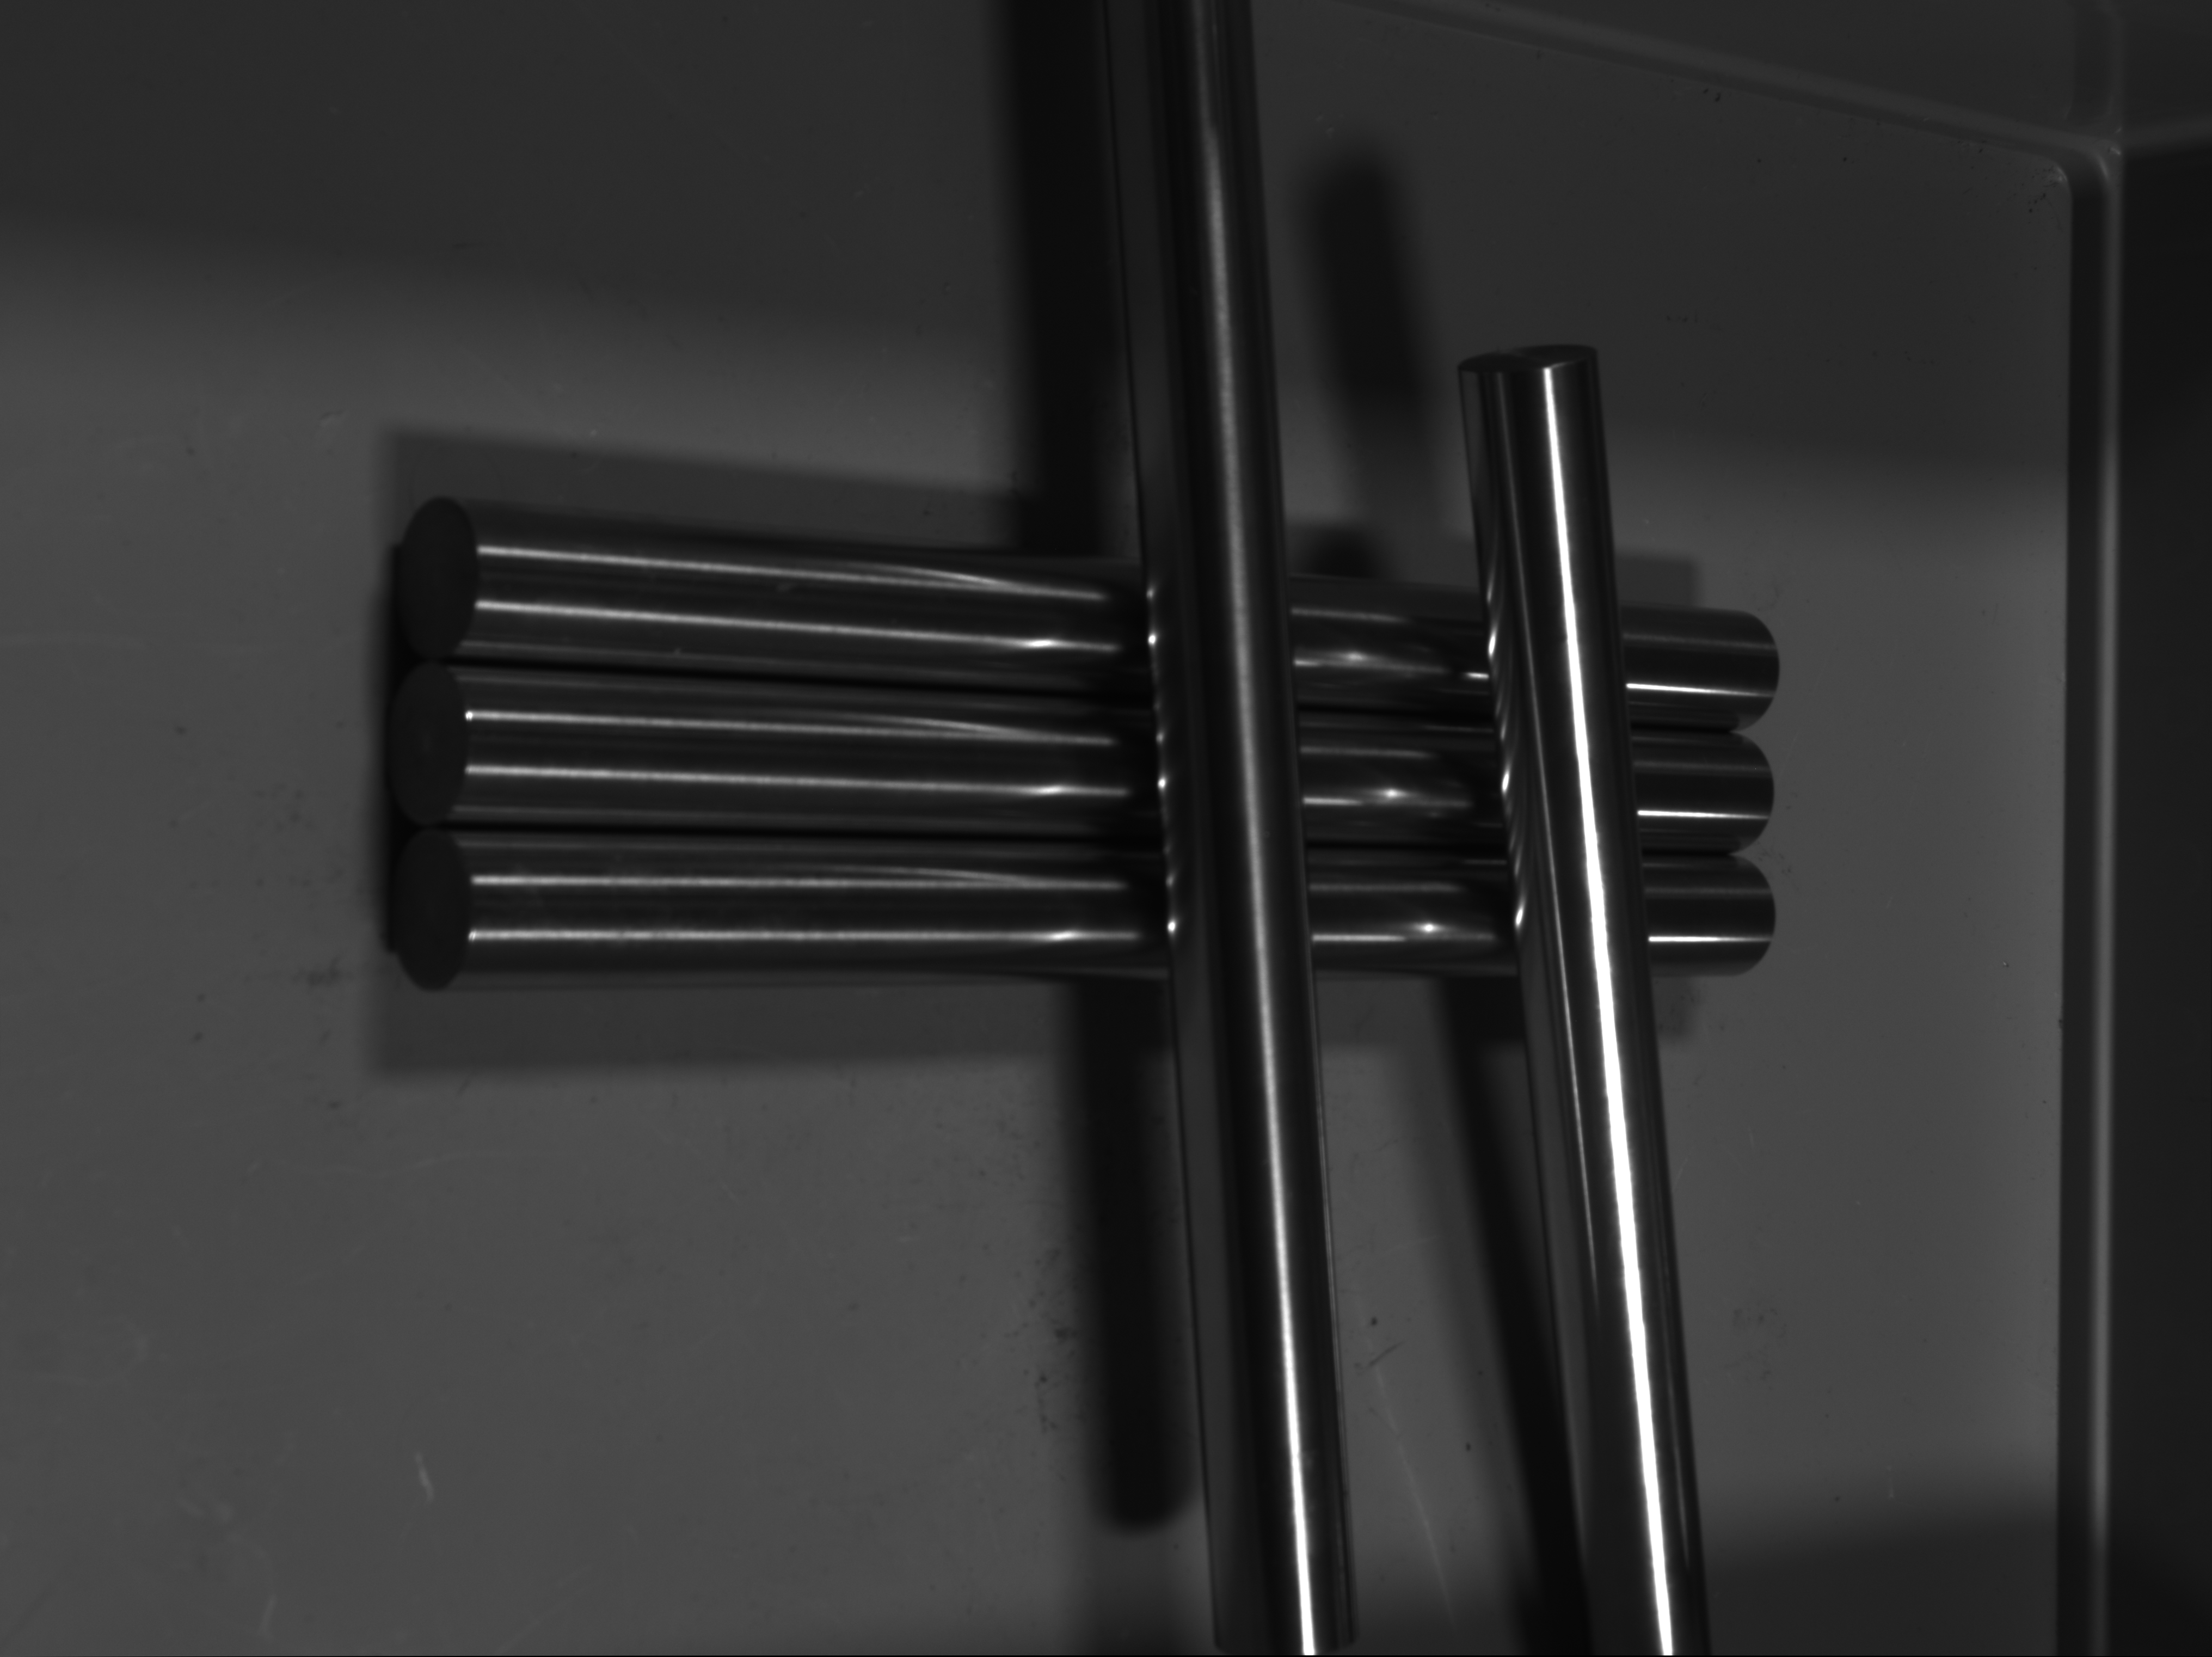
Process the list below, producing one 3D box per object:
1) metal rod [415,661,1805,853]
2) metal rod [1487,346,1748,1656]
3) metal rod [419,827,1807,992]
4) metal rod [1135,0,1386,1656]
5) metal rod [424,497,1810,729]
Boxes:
[{"bbox_3d":[0.017,-0.010,0.650,0.301,0.025,0.025,1,89,-40],"label":"metal rod"},{"bbox_3d":[0.100,0.059,0.693,0.025,0.025,0.300,-20,109,-38],"label":"metal rod"},{"bbox_3d":[0.018,0.015,0.651,0.301,0.025,0.025,1,89,-40],"label":"metal rod"},{"bbox_3d":[0.026,-0.009,0.625,0.025,0.025,0.300,-6,94,-40],"label":"metal rod"},{"bbox_3d":[0.018,-0.035,0.651,0.301,0.025,0.025,1,89,-40],"label":"metal rod"}]
